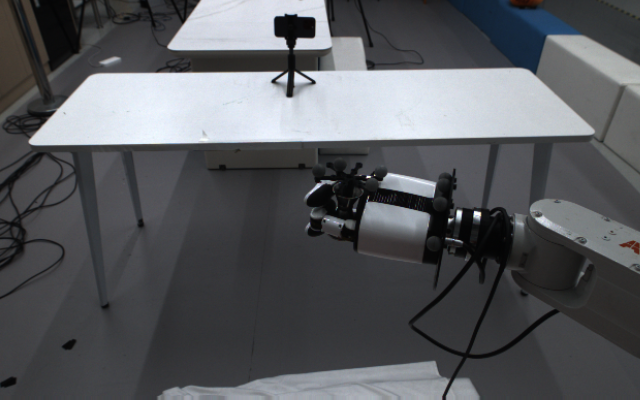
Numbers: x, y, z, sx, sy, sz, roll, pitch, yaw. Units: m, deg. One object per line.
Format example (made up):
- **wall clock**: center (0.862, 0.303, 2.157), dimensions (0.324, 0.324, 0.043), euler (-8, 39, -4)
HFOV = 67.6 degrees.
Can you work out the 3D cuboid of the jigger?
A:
- **jigger**: center (0.037, 0.014, 0.650), dimensions (0.043, 0.071, 0.043), euler (4, 31, -2)
